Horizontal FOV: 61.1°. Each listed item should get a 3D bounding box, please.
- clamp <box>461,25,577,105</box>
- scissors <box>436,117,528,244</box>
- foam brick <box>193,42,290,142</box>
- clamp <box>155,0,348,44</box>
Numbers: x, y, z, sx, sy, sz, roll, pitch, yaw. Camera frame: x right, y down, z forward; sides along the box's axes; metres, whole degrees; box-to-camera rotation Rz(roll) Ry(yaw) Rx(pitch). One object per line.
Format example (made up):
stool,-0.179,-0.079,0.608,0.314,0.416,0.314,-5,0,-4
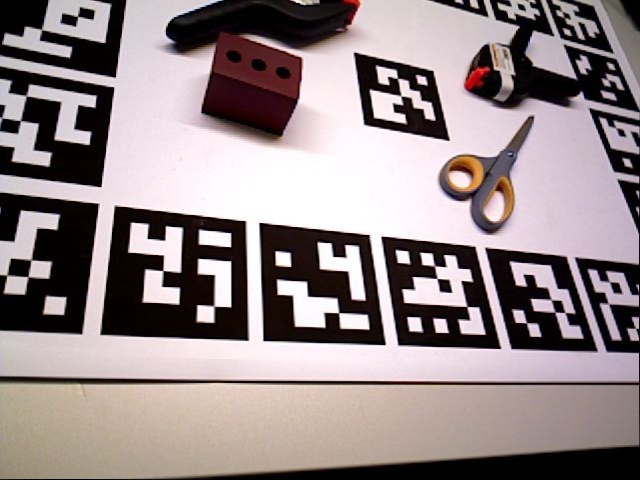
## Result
clamp,0.234,-0.207,0.659,0.162,0.037,0.122,-23,82,-29
scissors,0.187,-0.082,0.579,0.088,0.016,0.198,44,55,-6
foam brick,-0.070,-0.130,0.483,0.077,0.052,0.052,11,62,-12
clamp,-0.067,-0.248,0.551,0.200,0.037,0.164,2,61,-22
